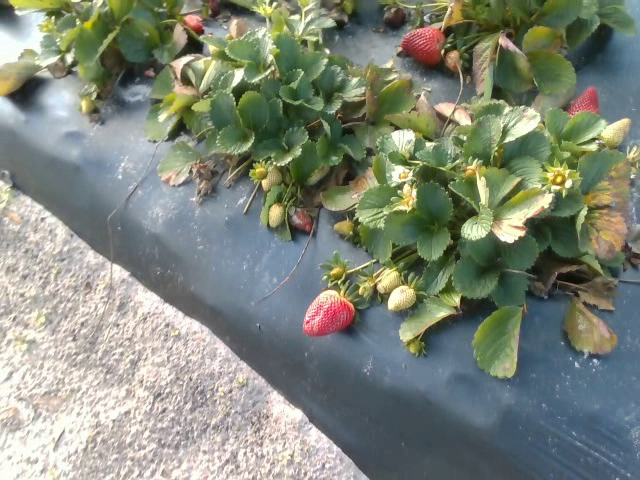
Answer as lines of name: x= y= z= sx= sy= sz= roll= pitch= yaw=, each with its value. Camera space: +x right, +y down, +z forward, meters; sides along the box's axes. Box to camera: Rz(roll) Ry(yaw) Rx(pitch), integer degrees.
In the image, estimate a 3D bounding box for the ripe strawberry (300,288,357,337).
ripe strawberry: x=0.007 y=0.092 z=0.705 sx=0.052 sy=0.068 sz=0.045 roll=34 pitch=-27 yaw=22
